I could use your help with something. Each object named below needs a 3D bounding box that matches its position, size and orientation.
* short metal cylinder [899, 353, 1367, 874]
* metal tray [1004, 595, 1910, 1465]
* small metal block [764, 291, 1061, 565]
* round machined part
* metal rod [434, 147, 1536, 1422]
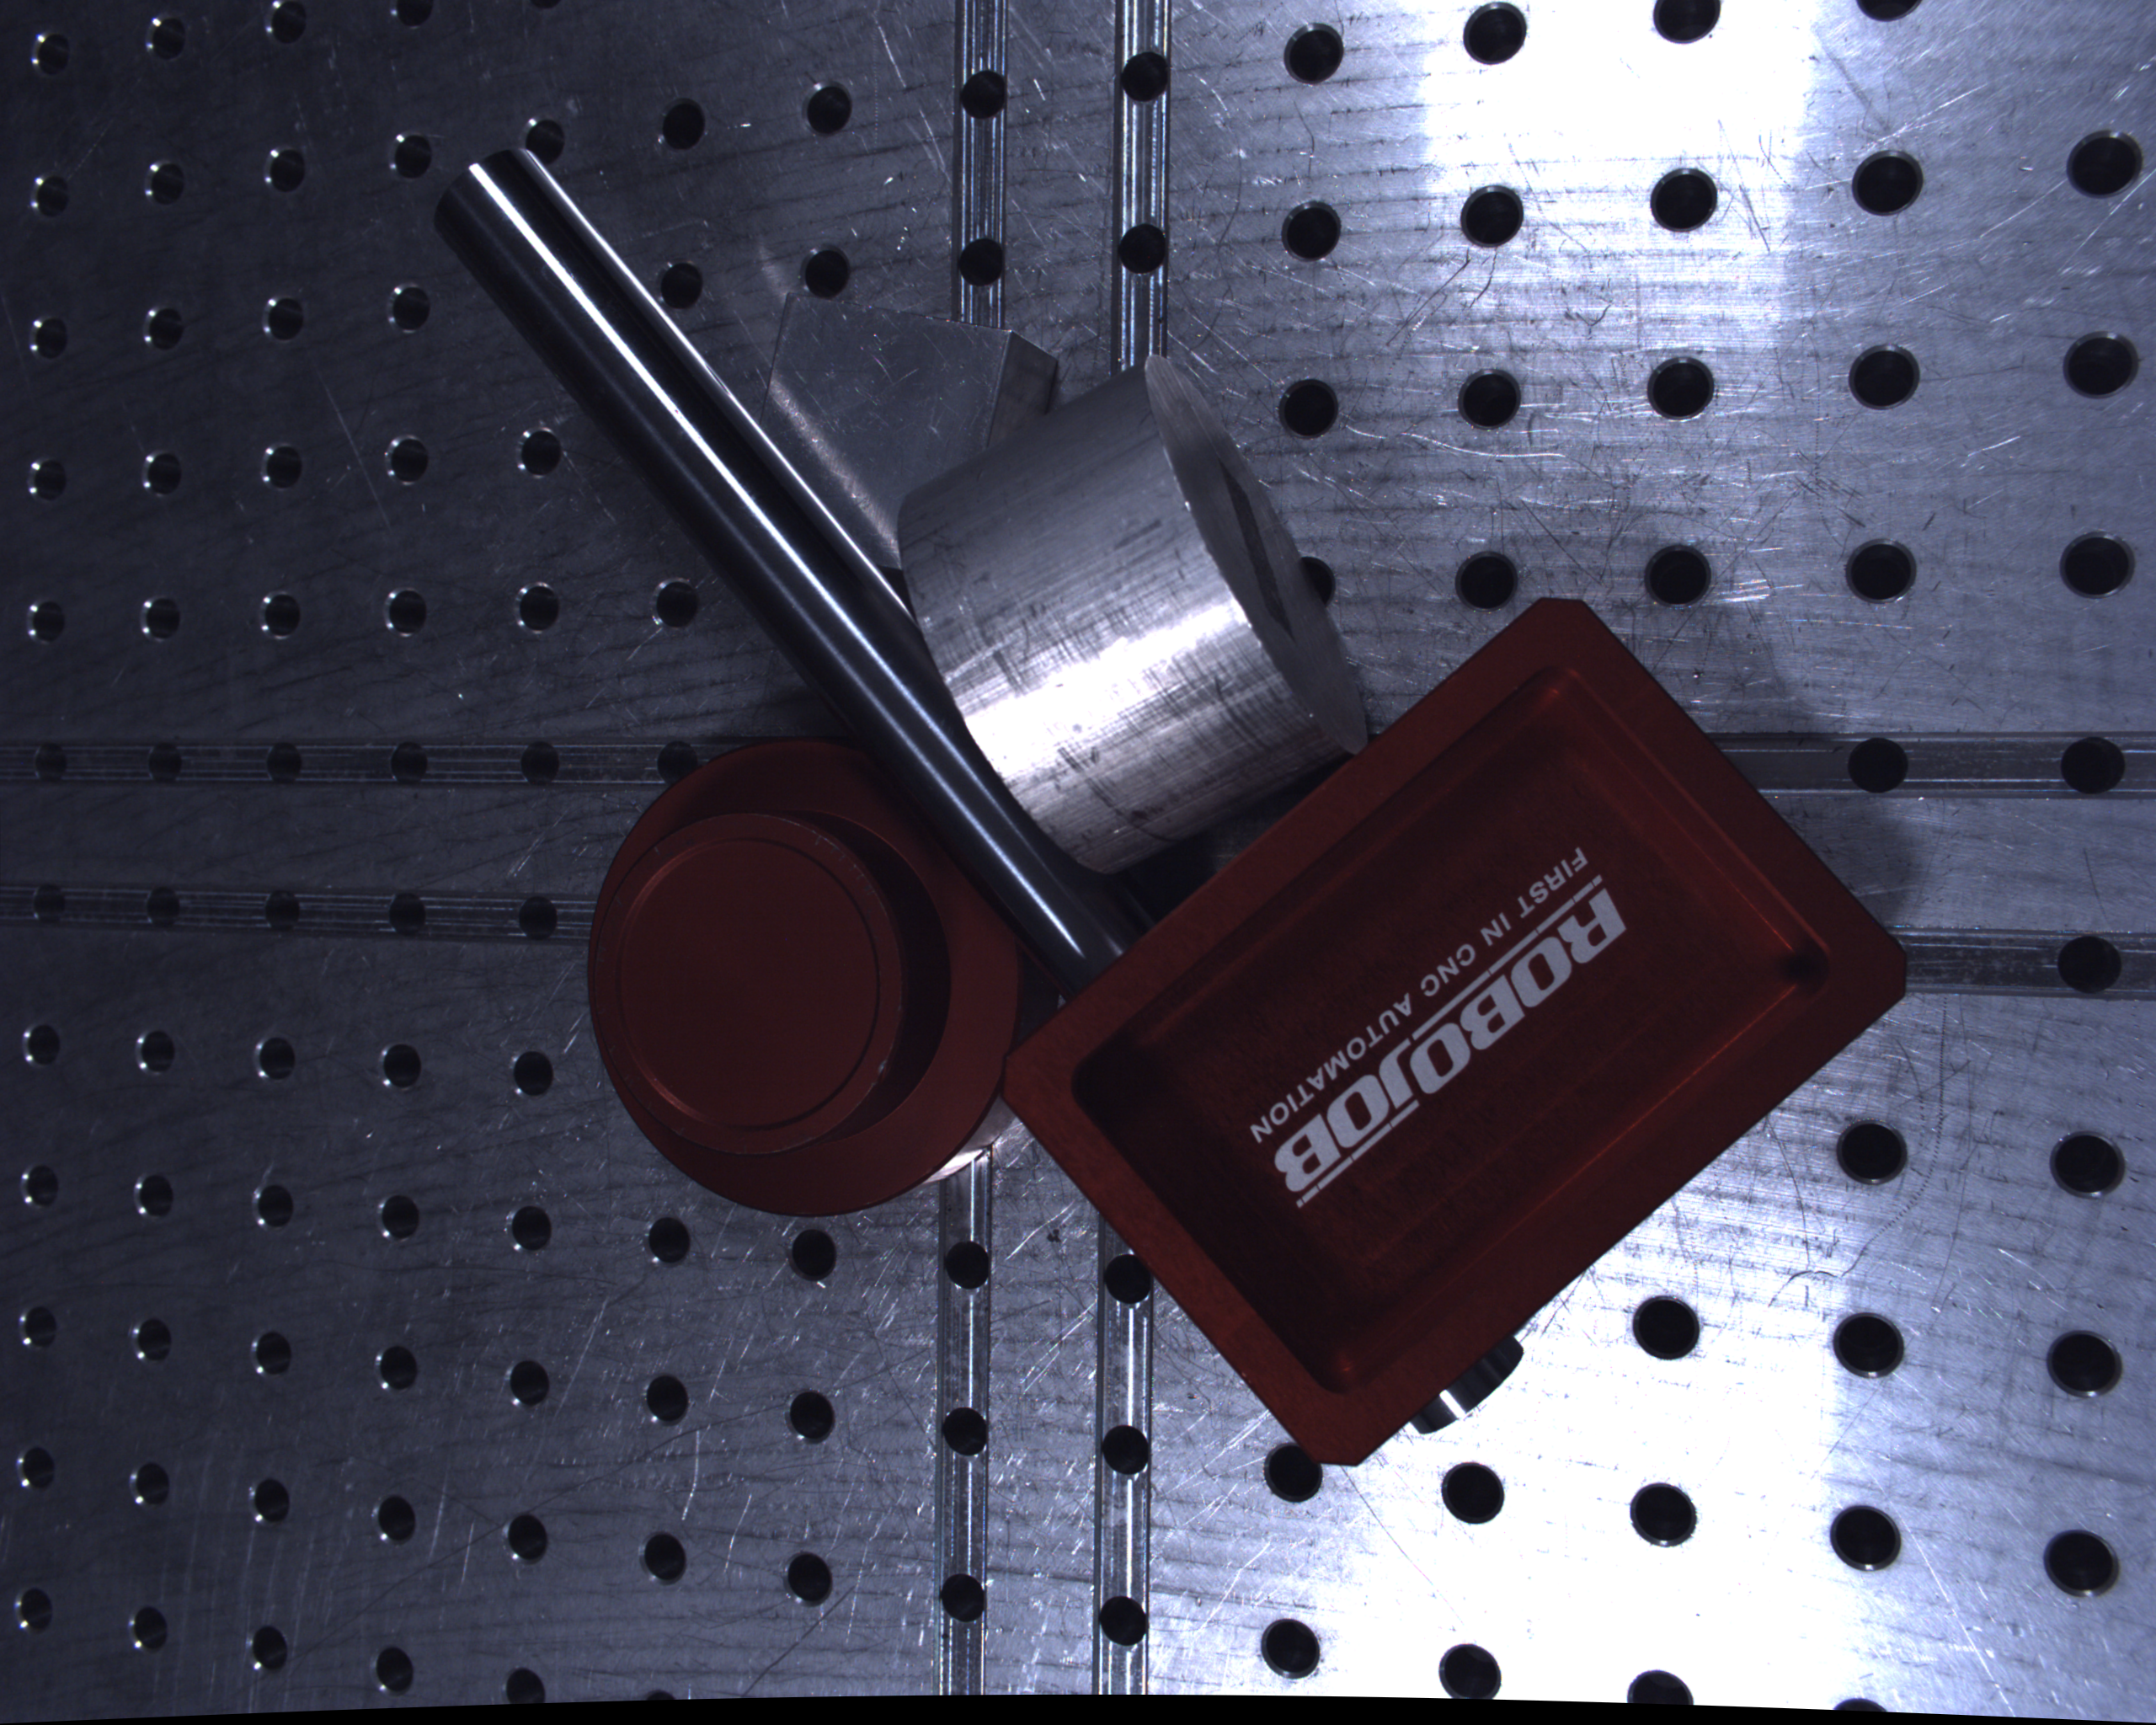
[{"bbox_3d":[0.011,-0.044,0.378,0.050,0.080,0.080,-26,82,18],"label":"short metal cylinder"},{"bbox_3d":[0.064,0.028,0.364,0.130,0.030,0.090,-41,85,-1],"label":"metal tray"},{"bbox_3d":[-0.036,-0.085,0.425,0.050,0.025,0.050,14,95,19],"label":"small metal block"},{"bbox_3d":[-0.058,0.023,0.422,0.098,0.042,0.097,0,90,19],"label":"round machined part"},{"bbox_3d":[-0.021,-0.018,0.401,0.025,0.025,0.300,-41,85,15],"label":"metal rod"}]
